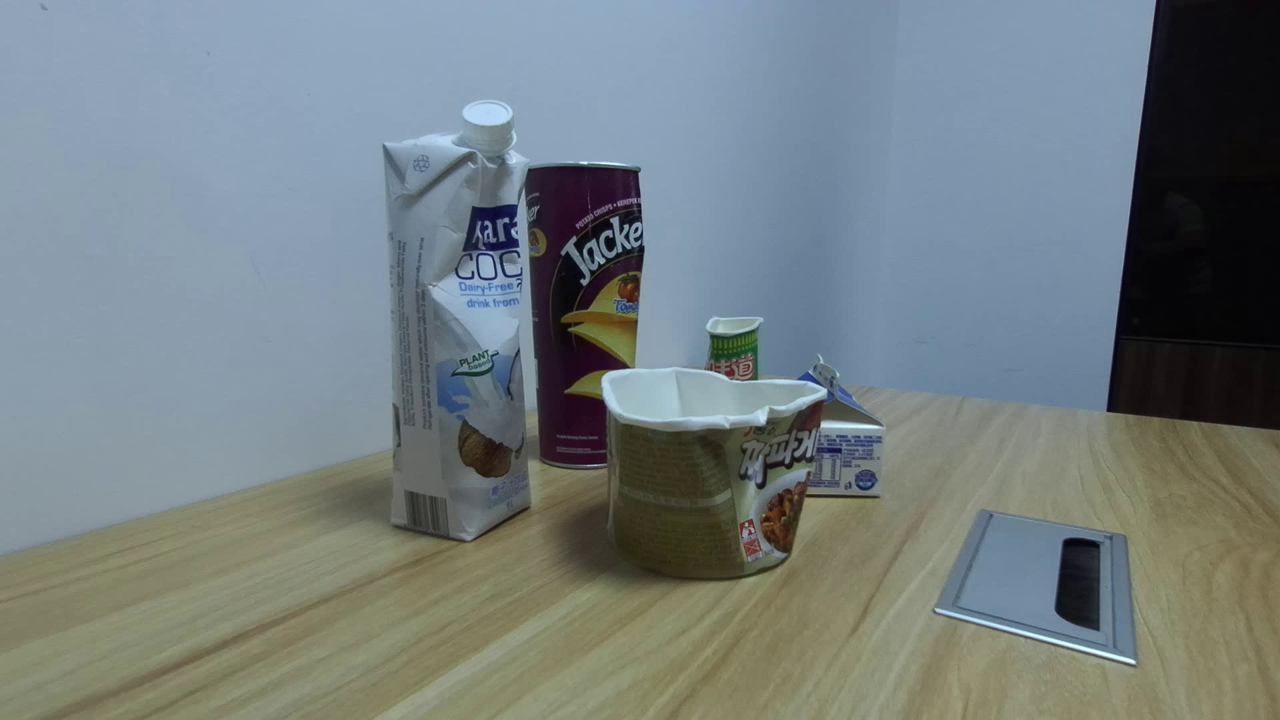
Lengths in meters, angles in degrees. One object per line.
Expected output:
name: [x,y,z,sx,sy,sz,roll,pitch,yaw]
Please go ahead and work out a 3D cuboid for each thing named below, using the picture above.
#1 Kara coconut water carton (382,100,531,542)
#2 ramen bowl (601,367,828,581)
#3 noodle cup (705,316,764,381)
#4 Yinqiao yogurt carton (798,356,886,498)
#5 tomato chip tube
Kara coconut water carton: [-0.111,-0.025,0.436,0.078,0.255,0.084,9,12,37]
ramen bowl: [0.031,0.060,0.406,0.113,0.097,0.134,9,12,35]
noodle cup: [0.078,0.017,0.638,0.070,0.111,0.115,7,11,27]
Yinqiao yogurt carton: [0.136,0.046,0.522,0.074,0.092,0.075,2,10,1]
tomato chip tube: [-0.045,-0.035,0.575,0.076,0.235,0.077,-5,9,-34]
